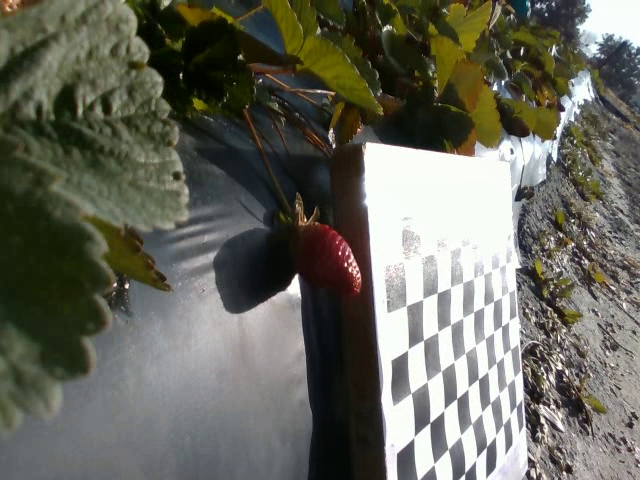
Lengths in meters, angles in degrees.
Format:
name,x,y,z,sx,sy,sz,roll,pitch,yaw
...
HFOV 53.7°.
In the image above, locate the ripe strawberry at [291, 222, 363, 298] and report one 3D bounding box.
name,x,y,z,sx,sy,sz,roll,pitch,yaw
ripe strawberry,0.004,0.010,0.236,0.037,0.033,0.034,39,24,22
